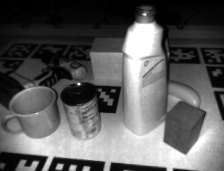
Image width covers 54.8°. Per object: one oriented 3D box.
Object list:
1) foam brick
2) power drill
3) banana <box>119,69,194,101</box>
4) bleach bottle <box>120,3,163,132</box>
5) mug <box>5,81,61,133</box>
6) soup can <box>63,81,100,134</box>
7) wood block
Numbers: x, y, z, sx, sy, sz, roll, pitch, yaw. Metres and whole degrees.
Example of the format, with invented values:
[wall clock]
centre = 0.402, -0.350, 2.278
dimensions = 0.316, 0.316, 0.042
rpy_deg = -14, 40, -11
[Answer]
[foam brick]
centre = 0.139, 0.071, 0.427
dimensions = 0.052, 0.078, 0.052
rpy_deg = 25, 46, 34
[power drill]
centre = -0.197, -0.026, 0.594
dimensions = 0.182, 0.057, 0.188
rpy_deg = 25, 46, 26
[banana]
centre = 0.115, -0.013, 0.555
dimensions = 0.196, 0.039, 0.074
rpy_deg = 14, 56, 17
[bleach bottle]
centre = 0.060, -0.028, 0.414
dimensions = 0.067, 0.252, 0.103
rpy_deg = 22, 46, 30
[mug]
centre = -0.169, 0.054, 0.466
dimensions = 0.118, 0.082, 0.092
rpy_deg = -33, 49, -26
[soup can]
centre = -0.062, 0.042, 0.448
dimensions = 0.068, 0.102, 0.067
rpy_deg = -1, 36, 2
[wood block]
centre = 0.044, -0.088, 0.617
dimensions = 0.206, 0.091, 0.089
rpy_deg = 1, 41, 6
